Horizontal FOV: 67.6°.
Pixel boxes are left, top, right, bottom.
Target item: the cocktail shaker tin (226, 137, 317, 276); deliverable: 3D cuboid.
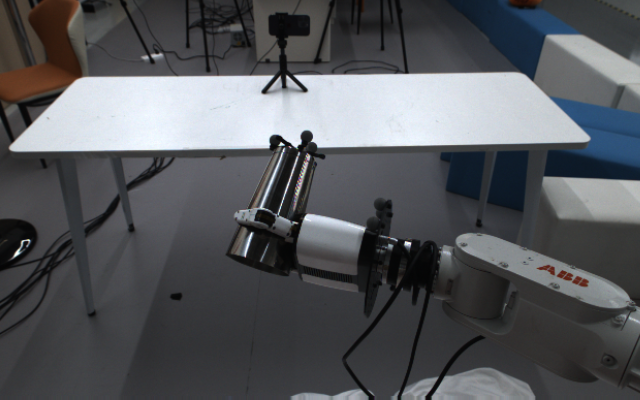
[{"bbox_3d":[-0.064,0.013,0.688,0.093,0.093,0.170,14,72,17],"label":"cocktail shaker tin"}]
